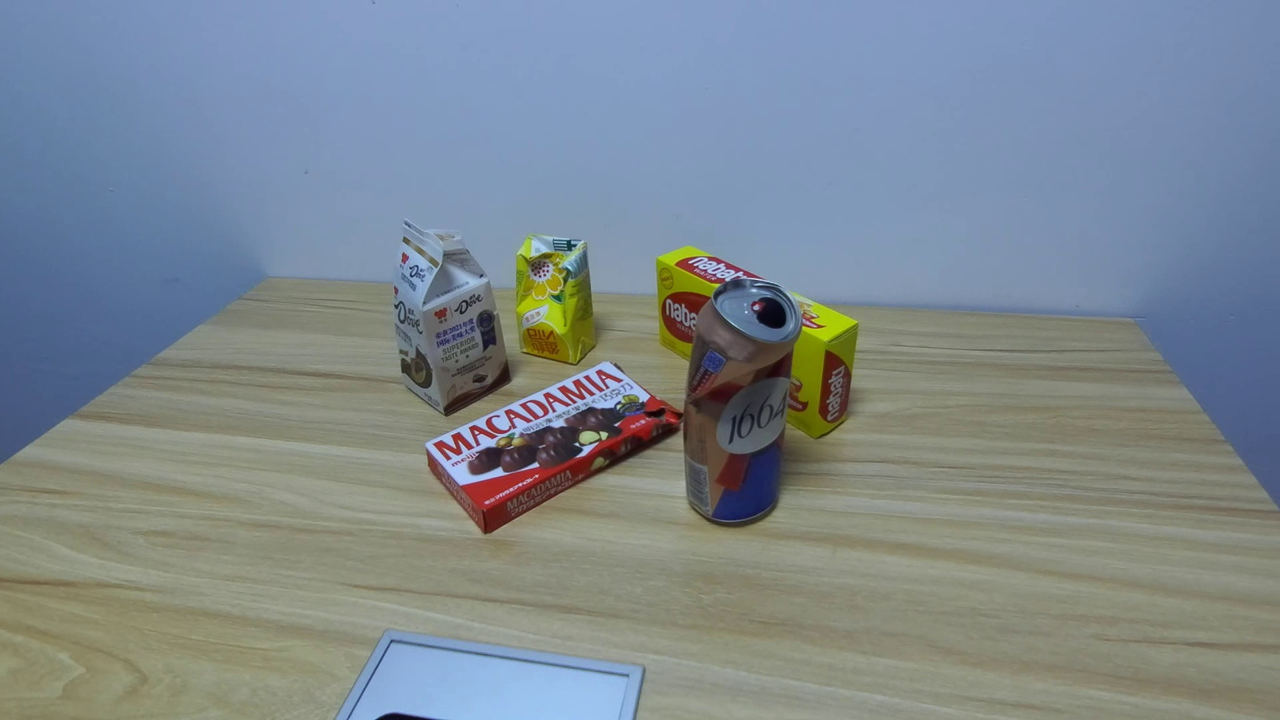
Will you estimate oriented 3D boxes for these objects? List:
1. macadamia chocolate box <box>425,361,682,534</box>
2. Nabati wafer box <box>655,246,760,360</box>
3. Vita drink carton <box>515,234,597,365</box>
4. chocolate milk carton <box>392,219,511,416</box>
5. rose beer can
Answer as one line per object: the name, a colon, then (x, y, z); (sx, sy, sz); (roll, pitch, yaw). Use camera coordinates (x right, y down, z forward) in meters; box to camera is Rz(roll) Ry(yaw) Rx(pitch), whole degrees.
macadamia chocolate box: (-0.062, 0.060, 0.560); (0.187, 0.027, 0.102); (-26, 41, -30)
Nabati wafer box: (0.091, -0.021, 0.604); (0.042, 0.093, 0.202); (-25, 39, -30)
Vita drink carton: (-0.083, -0.056, 0.663); (0.071, 0.110, 0.046); (11, 32, 25)
chocolate milk carton: (-0.172, -0.043, 0.610); (0.073, 0.155, 0.084); (-30, 41, -34)
rose beer can: (0.064, 0.031, 0.463); (0.070, 0.168, 0.069); (2, 34, 5)
